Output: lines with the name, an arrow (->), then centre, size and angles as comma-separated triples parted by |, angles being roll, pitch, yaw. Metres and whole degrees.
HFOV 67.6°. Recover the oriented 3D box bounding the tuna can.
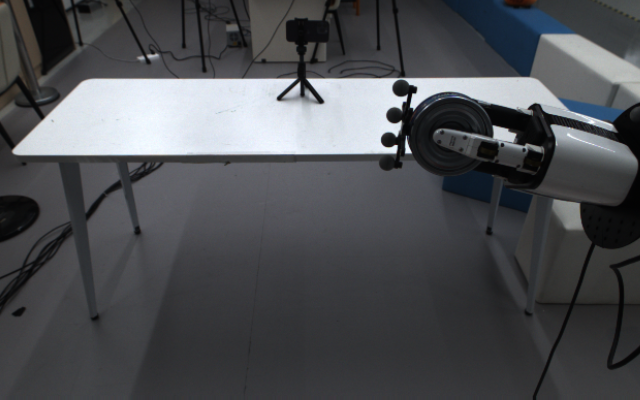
tuna can -> 0.137, -0.071, 0.512 | 0.085, 0.085, 0.034 | 5, 16, 4
